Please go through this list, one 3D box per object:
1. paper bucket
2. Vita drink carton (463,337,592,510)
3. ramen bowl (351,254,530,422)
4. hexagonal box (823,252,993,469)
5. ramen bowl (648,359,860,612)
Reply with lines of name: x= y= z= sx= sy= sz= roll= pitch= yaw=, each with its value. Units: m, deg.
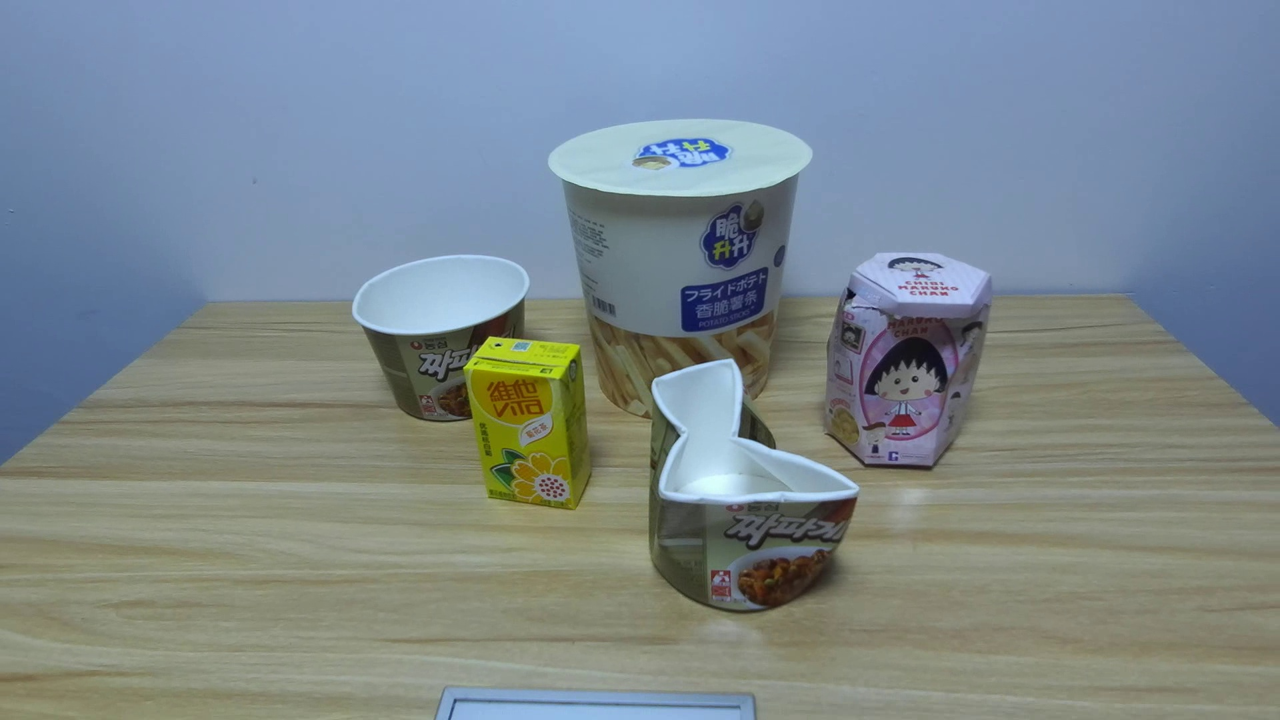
paper bucket: x=0.032 y=-0.070 z=0.562 sx=0.198 sy=0.195 sz=0.198 roll=-2 pitch=32 yaw=1
Vita drink carton: x=-0.072 y=0.042 z=0.472 sx=0.066 sy=0.109 sz=0.043 roll=6 pitch=33 yaw=13
ramen bowl: x=-0.157 y=-0.017 z=0.593 sx=0.140 sy=0.095 sz=0.140 roll=-2 pitch=33 yaw=1
hexagonal box: x=0.183 y=0.000 z=0.499 sx=0.090 sy=0.134 sz=0.090 roll=26 pitch=39 yaw=38
ramen bowl: x=0.059 y=0.071 z=0.425 sx=0.111 sy=0.093 sz=0.128 roll=-4 pitch=33 yaw=-1
